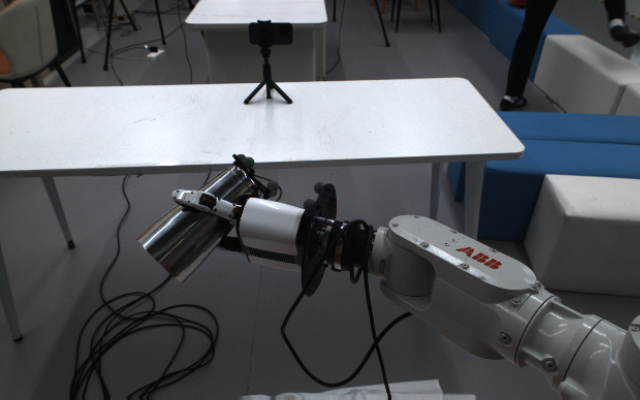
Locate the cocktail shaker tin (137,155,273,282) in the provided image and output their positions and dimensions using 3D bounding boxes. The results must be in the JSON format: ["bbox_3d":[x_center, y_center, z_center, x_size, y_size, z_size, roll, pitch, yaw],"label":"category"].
[{"bbox_3d":[-0.169,0.025,0.704,0.170,0.093,0.093,-43,50,-13],"label":"cocktail shaker tin"}]
